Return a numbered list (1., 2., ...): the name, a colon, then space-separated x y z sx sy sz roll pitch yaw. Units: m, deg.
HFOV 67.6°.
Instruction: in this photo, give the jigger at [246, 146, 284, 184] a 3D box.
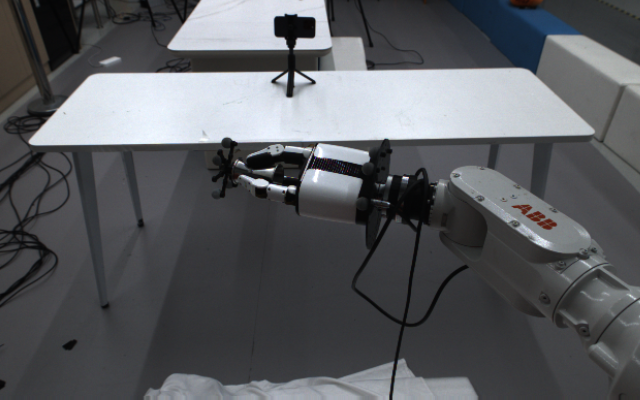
1. jigger: -0.088 -0.040 0.732 0.071 0.043 0.043 11 36 15
